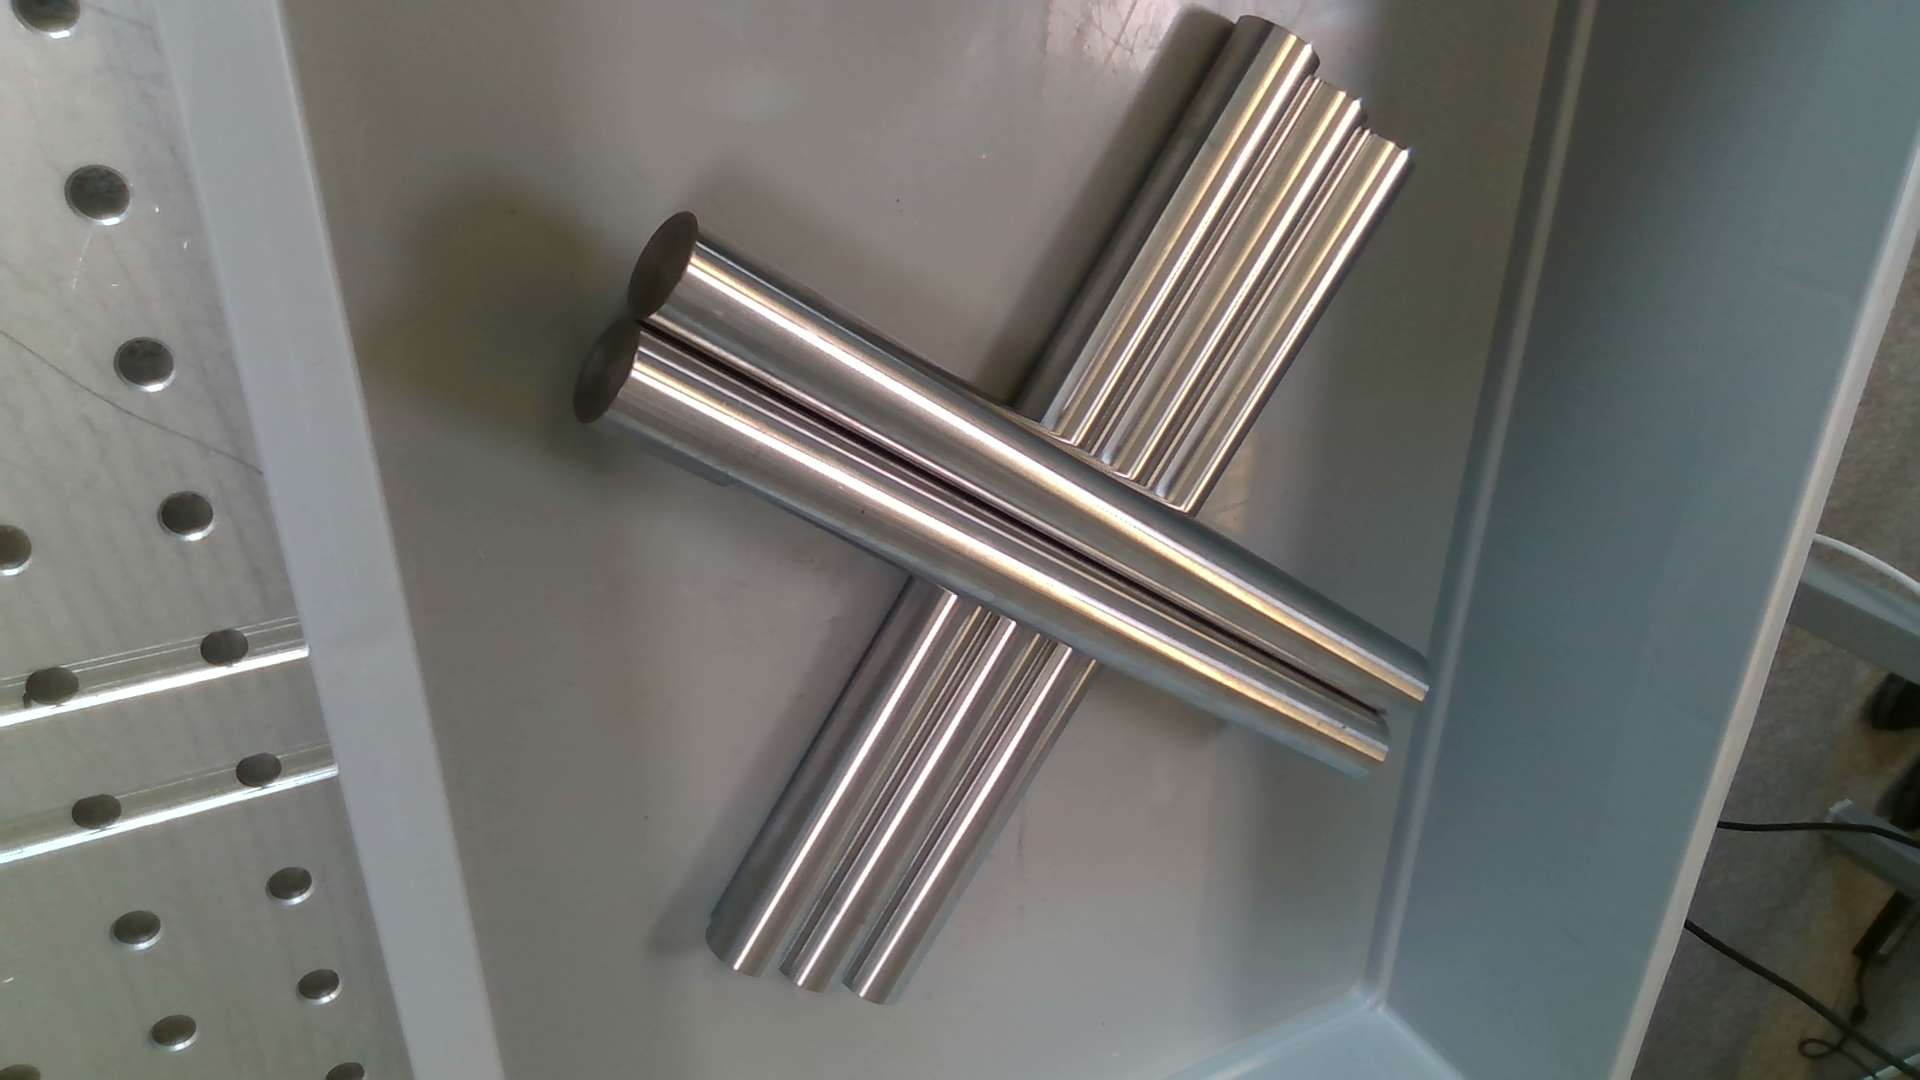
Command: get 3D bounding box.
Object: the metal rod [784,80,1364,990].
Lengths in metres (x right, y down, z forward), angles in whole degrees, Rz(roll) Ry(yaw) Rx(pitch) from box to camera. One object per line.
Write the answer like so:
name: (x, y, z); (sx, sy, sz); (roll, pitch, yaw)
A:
metal rod: (0.026, 0.004, 0.407); (0.025, 0.025, 0.300); (23, 101, -38)

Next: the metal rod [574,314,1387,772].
metal rod: (0.031, 0.016, 0.384); (0.301, 0.025, 0.025); (26, 99, -38)

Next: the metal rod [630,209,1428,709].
metal rod: (0.044, -0.006, 0.380); (0.301, 0.025, 0.025); (26, 99, -38)

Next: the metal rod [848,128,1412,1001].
metal rod: (0.045, 0.013, 0.423); (0.025, 0.025, 0.300); (24, 101, -38)

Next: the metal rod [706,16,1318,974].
metal rod: (0.010, -0.005, 0.392); (0.025, 0.025, 0.300); (23, 101, -38)
